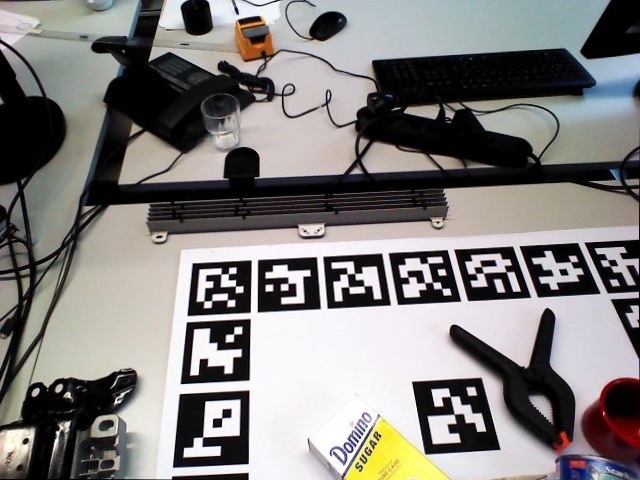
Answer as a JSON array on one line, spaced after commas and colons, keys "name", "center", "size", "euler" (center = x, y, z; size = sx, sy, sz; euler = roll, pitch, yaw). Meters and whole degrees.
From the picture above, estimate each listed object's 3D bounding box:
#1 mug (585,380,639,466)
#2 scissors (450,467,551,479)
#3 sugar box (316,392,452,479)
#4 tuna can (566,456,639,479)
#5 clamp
[{"name": "mug", "center": [0.398, 0.246, 0.652], "size": [0.093, 0.082, 0.117], "euler": [-26, 54, -16]}, {"name": "scissors", "center": [0.194, 0.308, 0.645], "size": [0.203, 0.016, 0.087], "euler": [-11, 51, -8]}, {"name": "sugar box", "center": [0.085, 0.286, 0.646], "size": [0.092, 0.045, 0.177], "euler": [-34, 54, -21]}, {"name": "tuna can", "center": [0.341, 0.289, 0.617], "size": [0.086, 0.086, 0.033], "euler": [11, 55, 10]}, {"name": "clamp", "center": [0.304, 0.195, 0.729], "size": [0.165, 0.037, 0.202], "euler": [-11, 56, -7]}]
